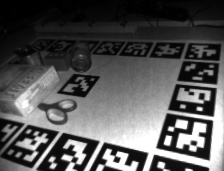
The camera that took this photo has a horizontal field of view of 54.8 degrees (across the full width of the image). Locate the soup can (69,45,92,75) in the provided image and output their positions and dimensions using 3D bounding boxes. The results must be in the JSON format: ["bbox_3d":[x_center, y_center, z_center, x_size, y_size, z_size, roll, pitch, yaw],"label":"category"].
[{"bbox_3d":[-0.110,-0.090,0.736,0.068,0.068,0.101,-18,35,-3],"label":"soup can"}]

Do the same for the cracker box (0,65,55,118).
[{"bbox_3d":[-0.307,0.009,0.644,0.211,0.072,0.164,1,42,24],"label":"cracker box"}]

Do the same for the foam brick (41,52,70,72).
[{"bbox_3d":[-0.194,-0.081,0.753,0.077,0.052,0.053,0,43,17],"label":"foam brick"}]

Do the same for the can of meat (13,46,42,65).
[{"bbox_3d":[-0.296,-0.085,0.759,0.100,0.084,0.058,20,52,34],"label":"can of meat"}]

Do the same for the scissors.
[{"bbox_3d":[-0.211,0.069,0.594,0.201,0.016,0.088,4,44,21],"label":"scissors"}]
